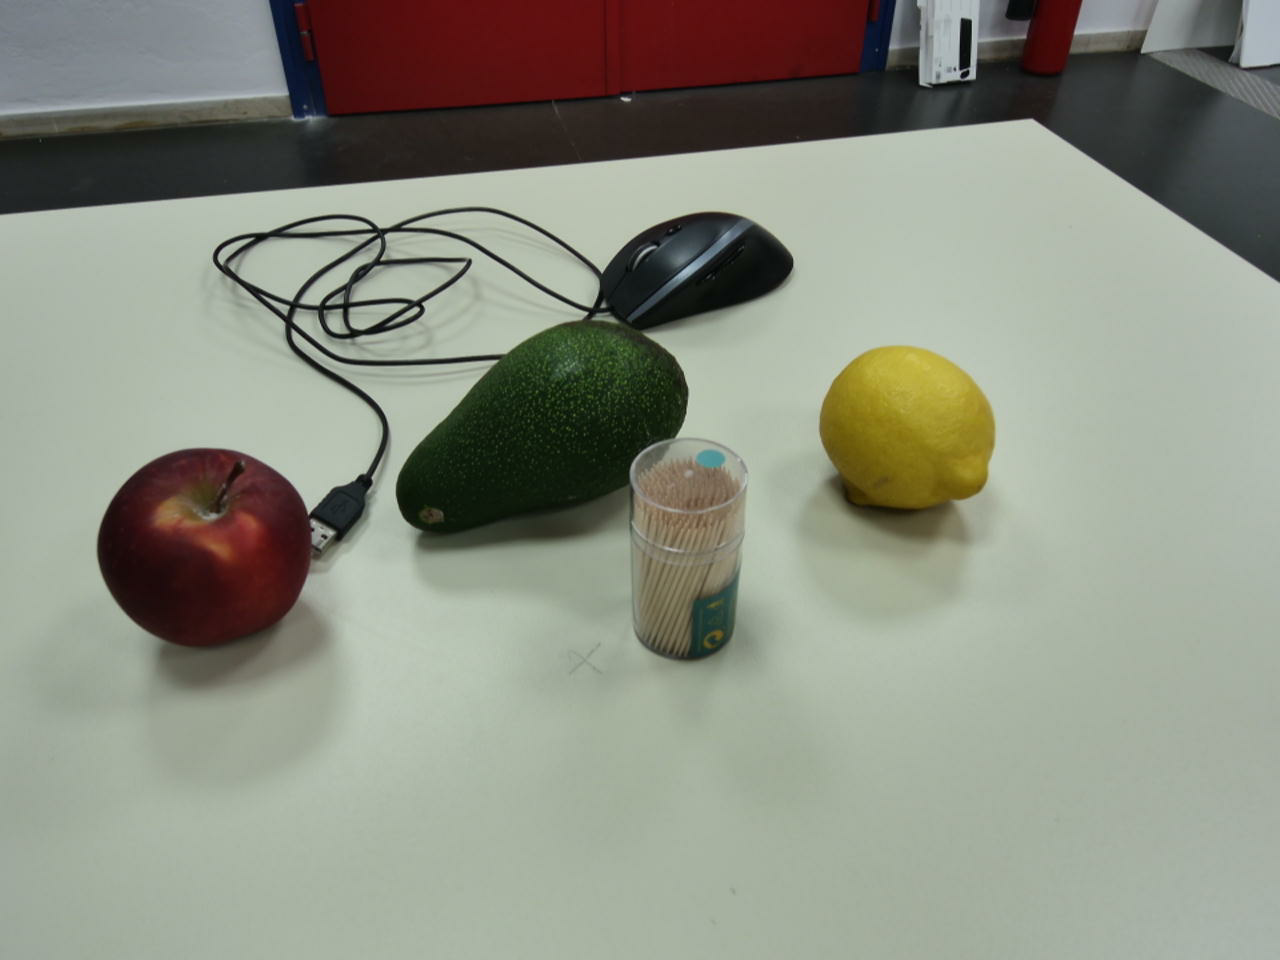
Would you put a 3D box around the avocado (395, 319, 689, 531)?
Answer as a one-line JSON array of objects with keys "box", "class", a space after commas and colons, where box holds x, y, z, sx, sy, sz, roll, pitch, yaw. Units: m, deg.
[{"box": [-0.041, -0.027, 0.417, 0.123, 0.076, 0.074, -4, 39, -6], "class": "avocado"}]
